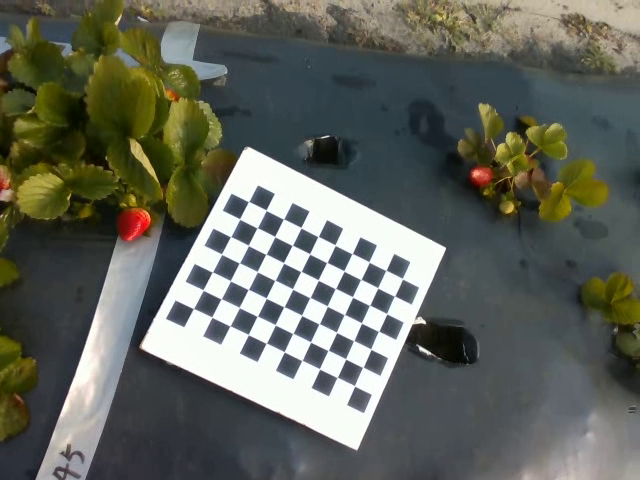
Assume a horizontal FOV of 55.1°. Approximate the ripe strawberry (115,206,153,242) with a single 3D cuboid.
[{"bbox_3d":[-0.207,-0.015,0.674,0.050,0.055,0.036,22,-29,-11],"label":"ripe strawberry"}]
